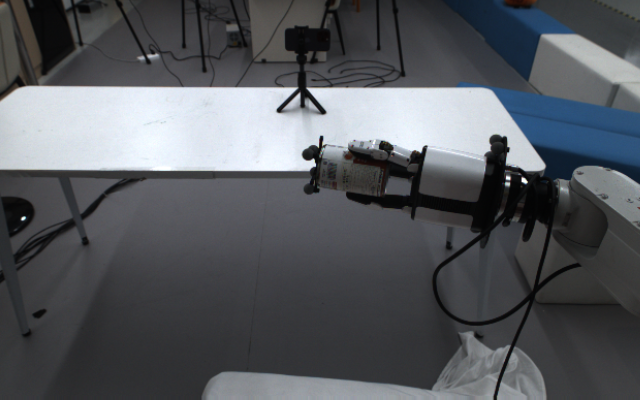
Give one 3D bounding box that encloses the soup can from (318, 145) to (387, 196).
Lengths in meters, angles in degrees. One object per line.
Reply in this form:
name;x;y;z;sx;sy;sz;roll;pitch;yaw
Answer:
soup can;0.053;-0.044;0.722;0.101;0.067;0.067;9;35;9
